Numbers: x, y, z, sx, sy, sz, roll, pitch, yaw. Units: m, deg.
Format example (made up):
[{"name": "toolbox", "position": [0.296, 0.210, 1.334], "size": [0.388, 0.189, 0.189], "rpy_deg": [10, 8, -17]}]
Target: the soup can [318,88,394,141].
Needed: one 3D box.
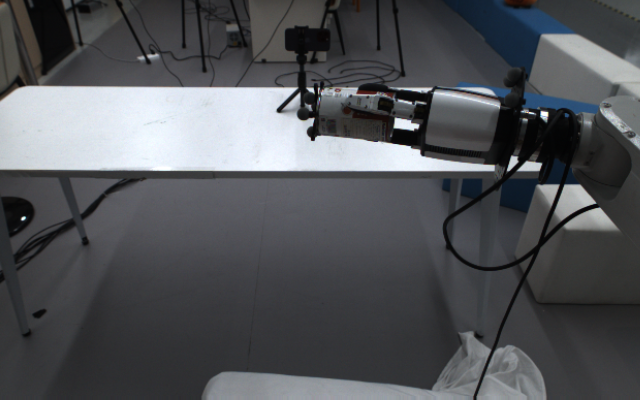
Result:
[{"name": "soup can", "position": [0.052, -0.119, 0.669], "size": [0.101, 0.067, 0.067], "rpy_deg": [7, 35, 10]}]
